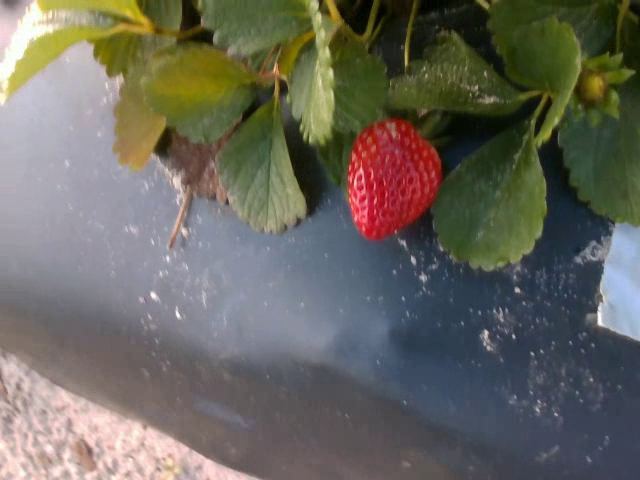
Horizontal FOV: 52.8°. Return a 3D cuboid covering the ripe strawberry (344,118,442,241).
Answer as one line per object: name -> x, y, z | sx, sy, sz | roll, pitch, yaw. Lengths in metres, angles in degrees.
ripe strawberry -> 0.012, -0.009, 0.115 | 0.018, 0.023, 0.020 | 13, -16, 41
